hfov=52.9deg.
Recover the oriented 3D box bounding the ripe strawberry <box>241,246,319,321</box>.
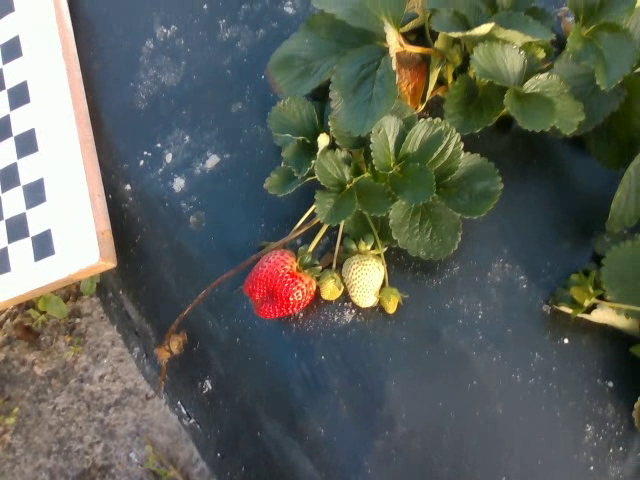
[{"bbox_3d":[-0.033,0.033,0.455,0.050,0.048,0.034,-38,-20,5],"label":"ripe strawberry"}]
